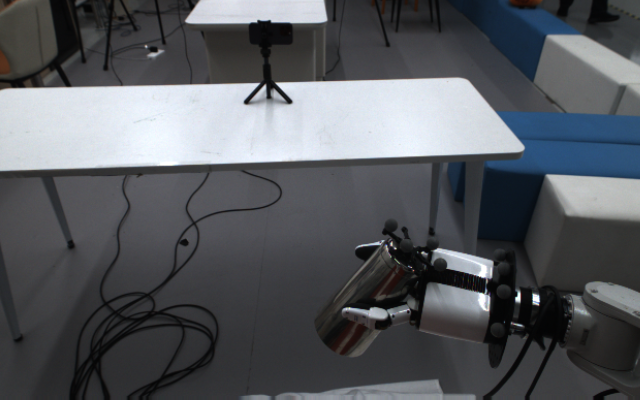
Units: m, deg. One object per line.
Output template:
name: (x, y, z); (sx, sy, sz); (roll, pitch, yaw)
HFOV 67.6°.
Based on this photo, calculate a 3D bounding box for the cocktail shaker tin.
cocktail shaker tin: (0.073, 0.128, 0.680); (0.093, 0.170, 0.093); (26, 32, -18)
